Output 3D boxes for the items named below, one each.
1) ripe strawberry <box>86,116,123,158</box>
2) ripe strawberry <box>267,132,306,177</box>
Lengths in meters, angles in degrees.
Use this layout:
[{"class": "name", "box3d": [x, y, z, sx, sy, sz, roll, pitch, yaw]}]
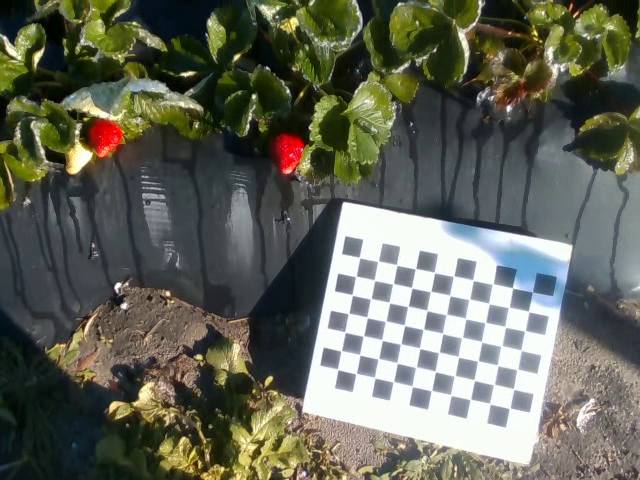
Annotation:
[{"class": "ripe strawberry", "box3d": [-0.230, -0.104, 0.596, 0.037, 0.040, 0.051, -4, 40, 6]}, {"class": "ripe strawberry", "box3d": [-0.035, -0.087, 0.577, 0.042, 0.052, 0.047, 4, -39, 5]}]
